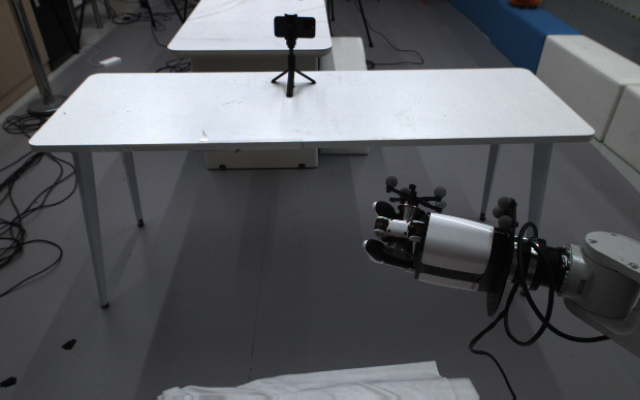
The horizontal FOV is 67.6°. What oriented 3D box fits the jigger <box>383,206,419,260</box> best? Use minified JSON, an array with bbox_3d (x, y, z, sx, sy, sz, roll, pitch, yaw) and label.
[{"bbox_3d":[0.122,0.044,0.677,0.043,0.043,0.071,13,69,15],"label":"jigger"}]
